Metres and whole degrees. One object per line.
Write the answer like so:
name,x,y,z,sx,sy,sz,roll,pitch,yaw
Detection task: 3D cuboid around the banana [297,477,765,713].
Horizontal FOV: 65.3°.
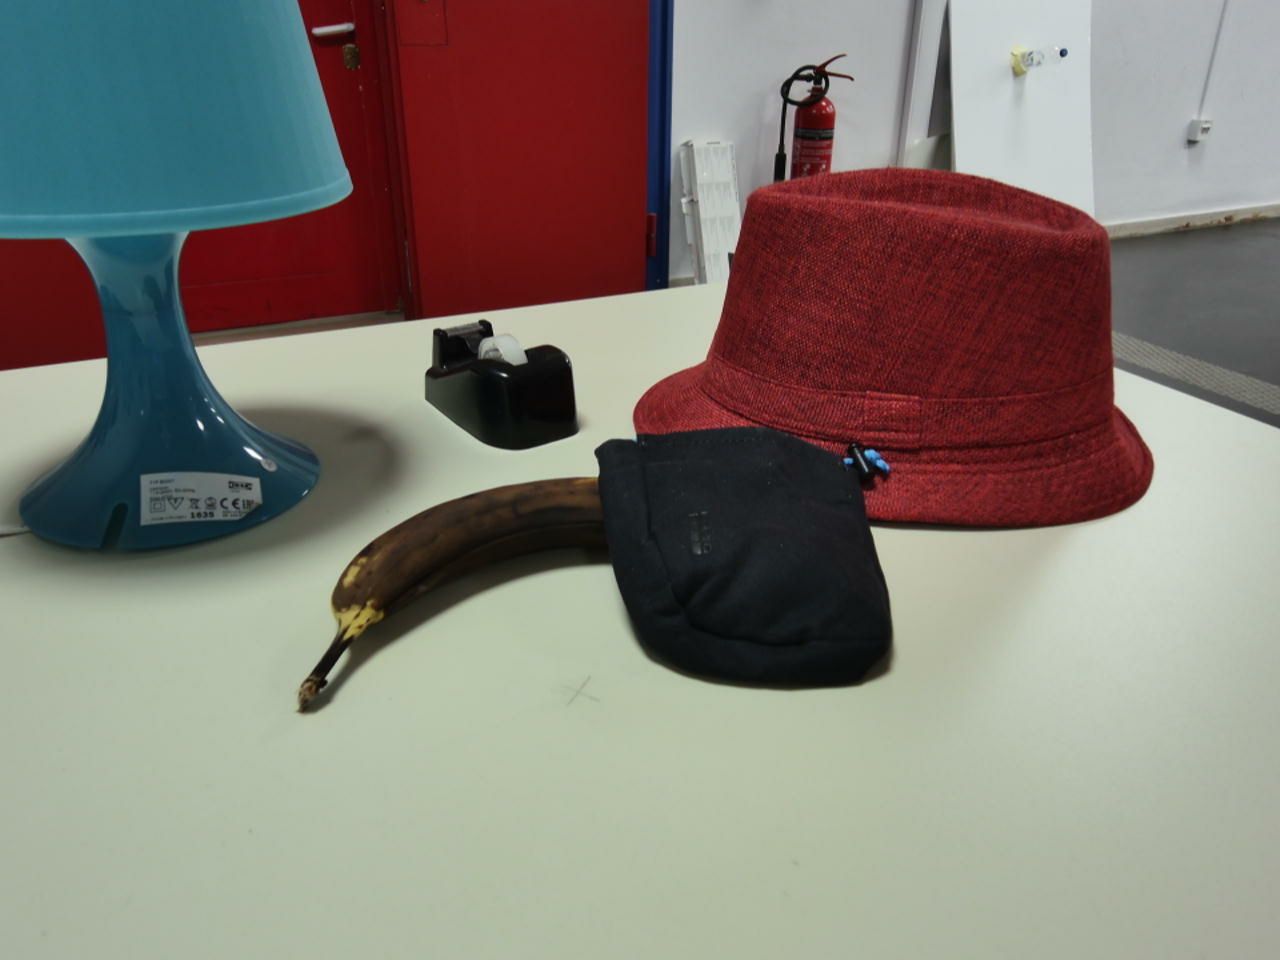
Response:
banana,-0.048,0.029,0.403,0.188,0.034,0.091,-11,26,-23
